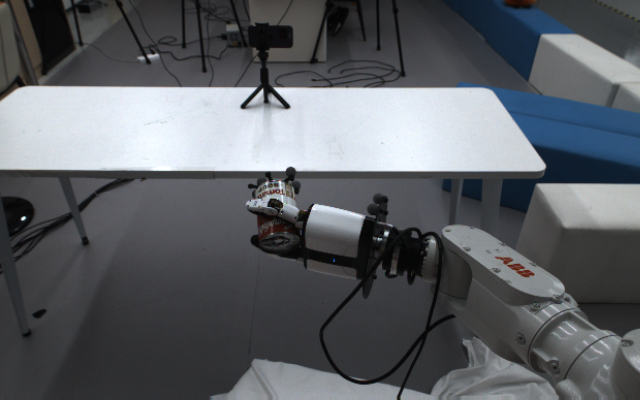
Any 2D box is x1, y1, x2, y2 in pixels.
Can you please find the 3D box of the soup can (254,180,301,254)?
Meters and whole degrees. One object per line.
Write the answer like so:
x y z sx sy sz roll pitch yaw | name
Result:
-0.068 0.028 0.778 0.067 0.067 0.101 -5 57 -9 | soup can
